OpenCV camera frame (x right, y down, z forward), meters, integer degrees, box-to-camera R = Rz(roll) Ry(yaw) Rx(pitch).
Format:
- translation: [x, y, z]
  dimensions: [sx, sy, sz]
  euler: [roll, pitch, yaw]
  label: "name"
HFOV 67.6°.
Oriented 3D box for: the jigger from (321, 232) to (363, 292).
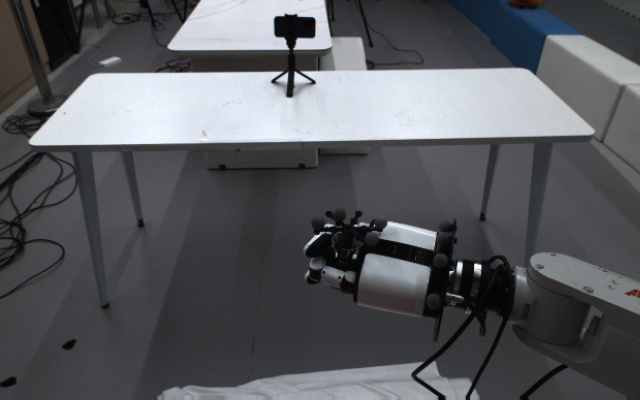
- translation: [0.036, 0.079, 0.645]
  dimensions: [0.043, 0.071, 0.043]
  euler: [4, 31, -2]
  label: "jigger"
